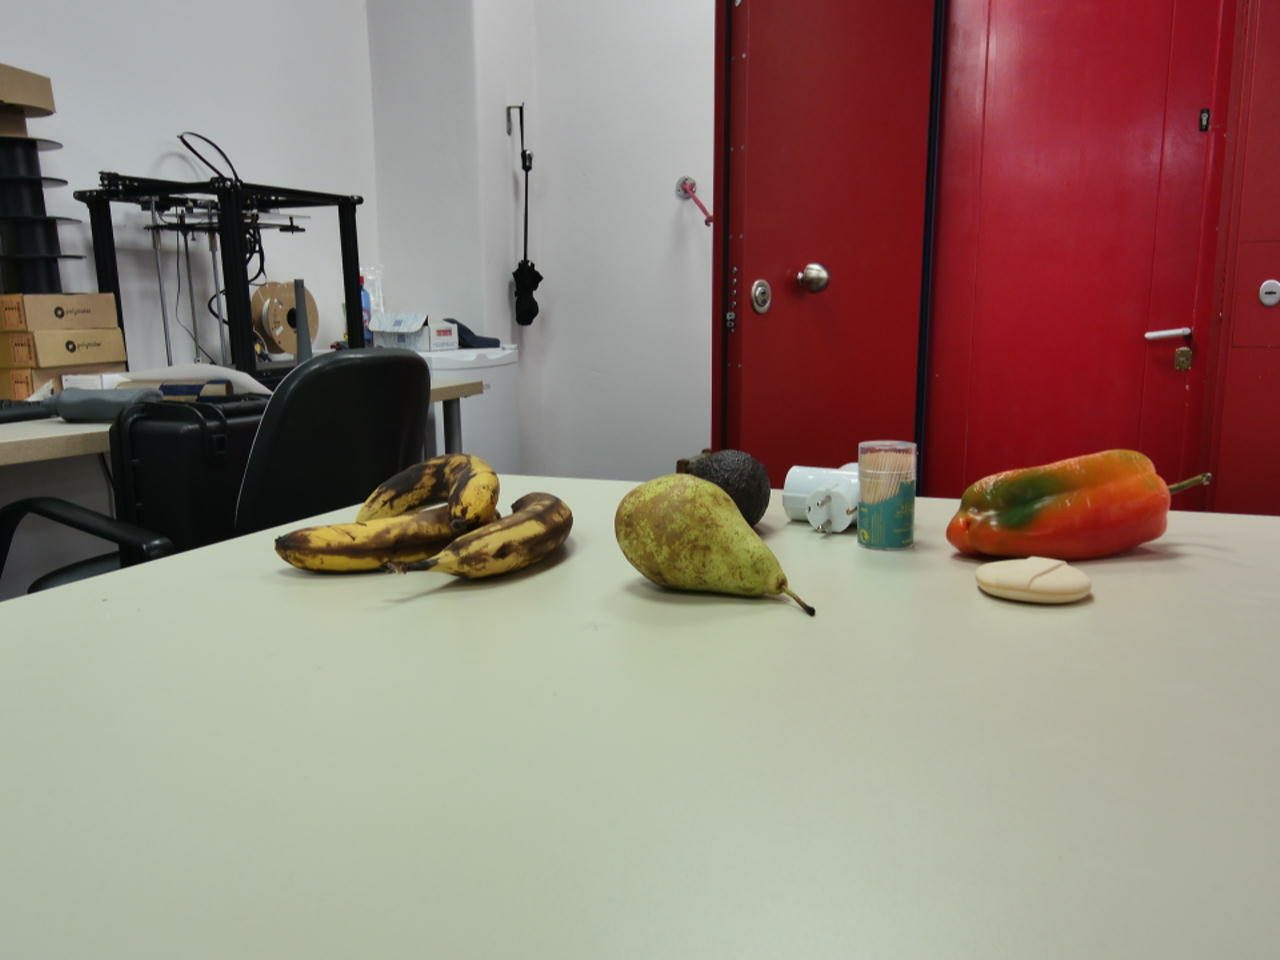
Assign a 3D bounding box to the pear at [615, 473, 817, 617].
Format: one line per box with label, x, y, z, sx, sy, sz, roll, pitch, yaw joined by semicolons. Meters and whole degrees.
pear;0.047;0.035;0.614;0.128;0.075;0.071;1;7;15
